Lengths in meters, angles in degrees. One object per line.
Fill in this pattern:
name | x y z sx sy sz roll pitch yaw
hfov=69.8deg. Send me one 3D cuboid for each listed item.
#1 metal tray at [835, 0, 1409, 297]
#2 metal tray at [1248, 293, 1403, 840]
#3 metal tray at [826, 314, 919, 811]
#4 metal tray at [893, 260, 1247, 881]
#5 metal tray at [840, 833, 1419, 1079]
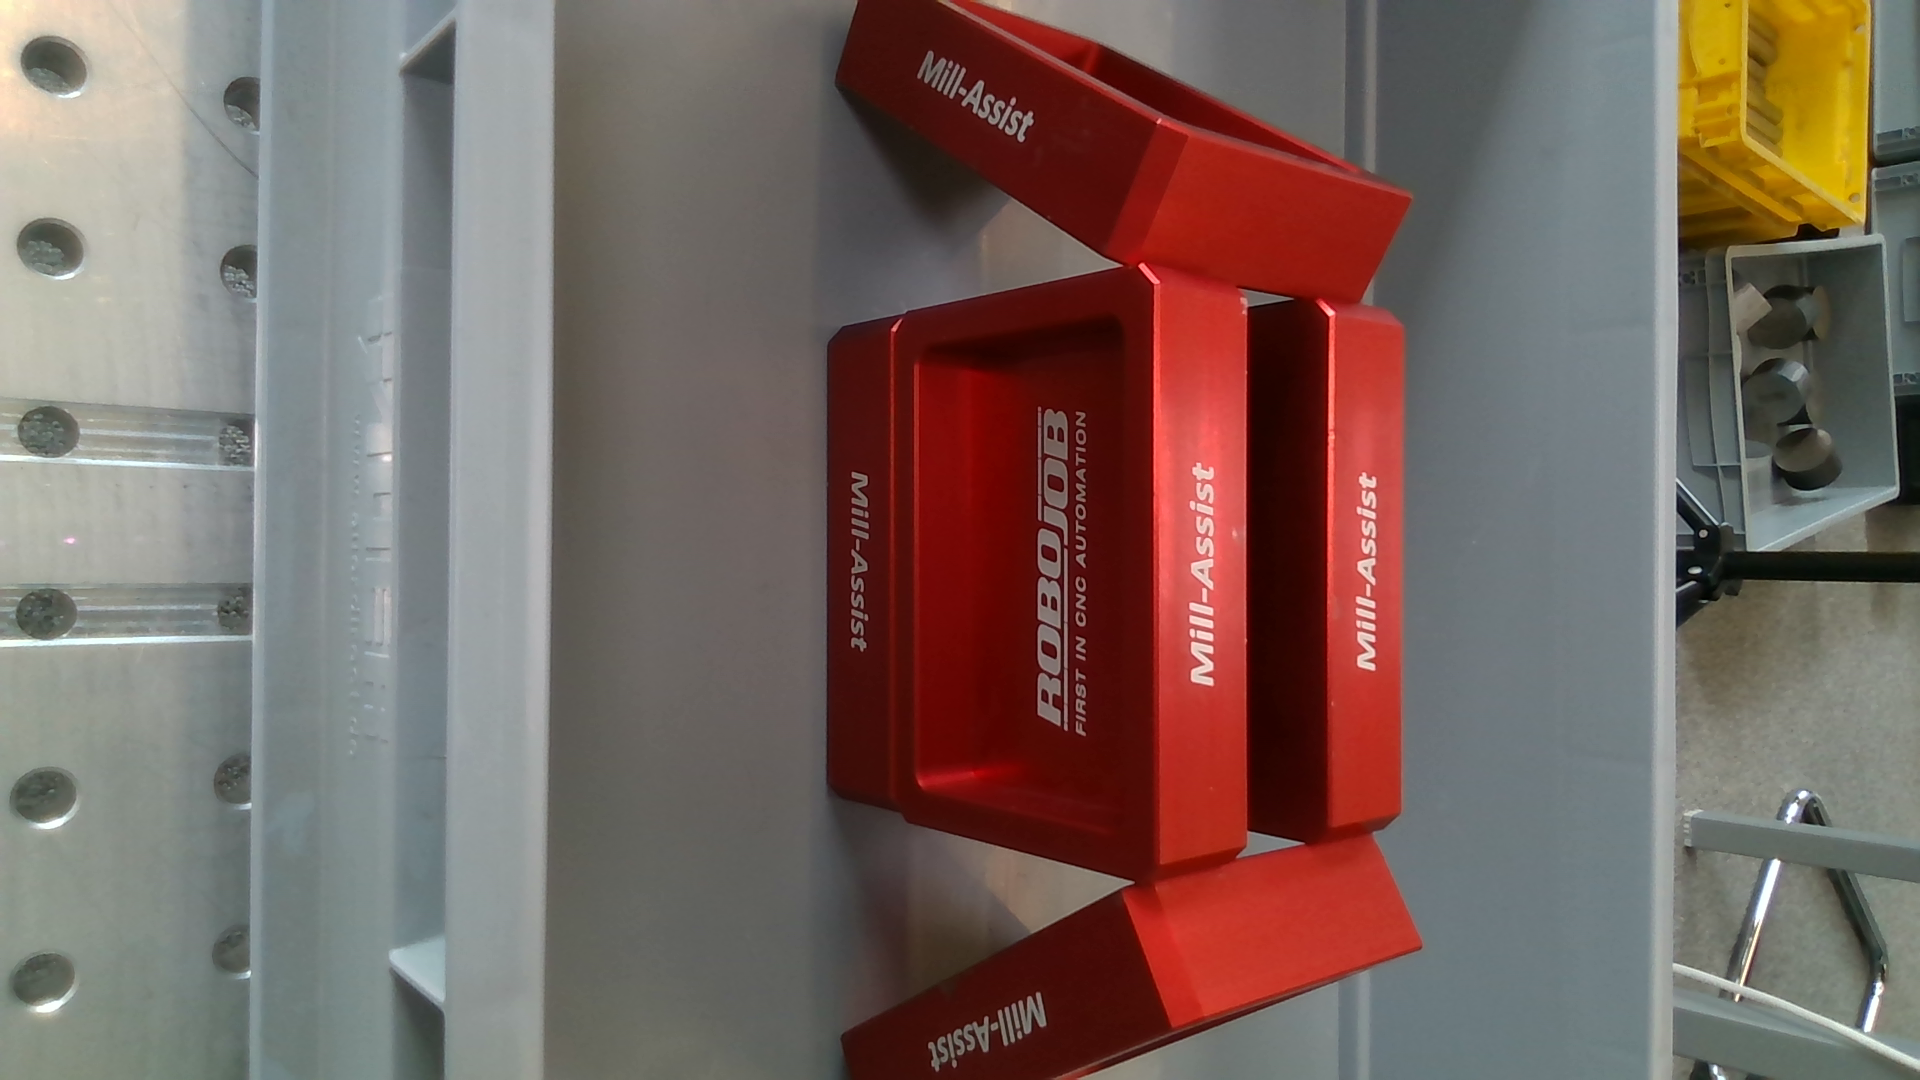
metal tray | 0.038 -0.105 0.355 0.090 0.130 0.030 1 122 -40
metal tray | 0.070 0.007 0.366 0.030 0.090 0.130 0 90 -40
metal tray | 0.007 0.006 0.393 0.090 0.030 0.130 -1 91 -40
metal tray | 0.023 0.006 0.327 0.030 0.090 0.130 -1 91 -41
metal tray | 0.040 0.116 0.357 0.090 0.130 0.030 0 60 -40
